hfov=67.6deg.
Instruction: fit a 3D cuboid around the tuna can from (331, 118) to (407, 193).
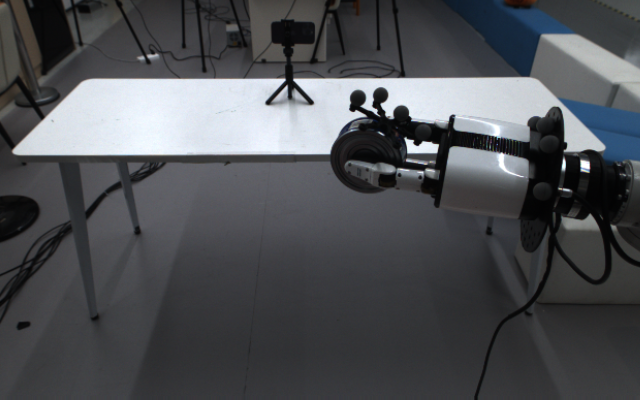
[{"bbox_3d":[0.060,-0.044,0.560,0.085,0.085,0.034,12,35,14],"label":"tuna can"}]
